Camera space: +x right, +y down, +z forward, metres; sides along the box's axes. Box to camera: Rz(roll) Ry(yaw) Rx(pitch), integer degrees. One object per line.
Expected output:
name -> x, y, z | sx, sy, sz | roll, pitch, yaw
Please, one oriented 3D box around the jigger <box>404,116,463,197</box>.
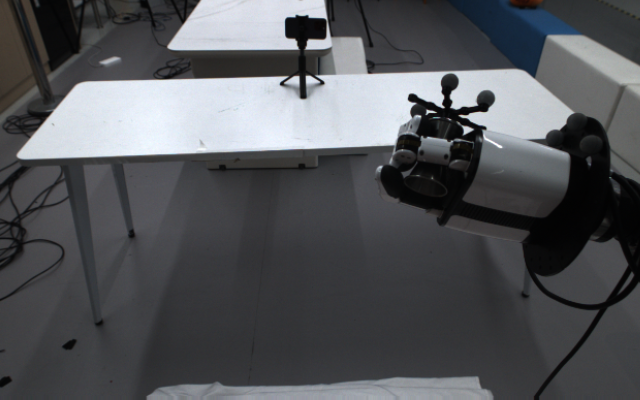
jigger -> 0.116, -0.045, 0.481 | 0.043, 0.043, 0.071 | 15, 70, 18
